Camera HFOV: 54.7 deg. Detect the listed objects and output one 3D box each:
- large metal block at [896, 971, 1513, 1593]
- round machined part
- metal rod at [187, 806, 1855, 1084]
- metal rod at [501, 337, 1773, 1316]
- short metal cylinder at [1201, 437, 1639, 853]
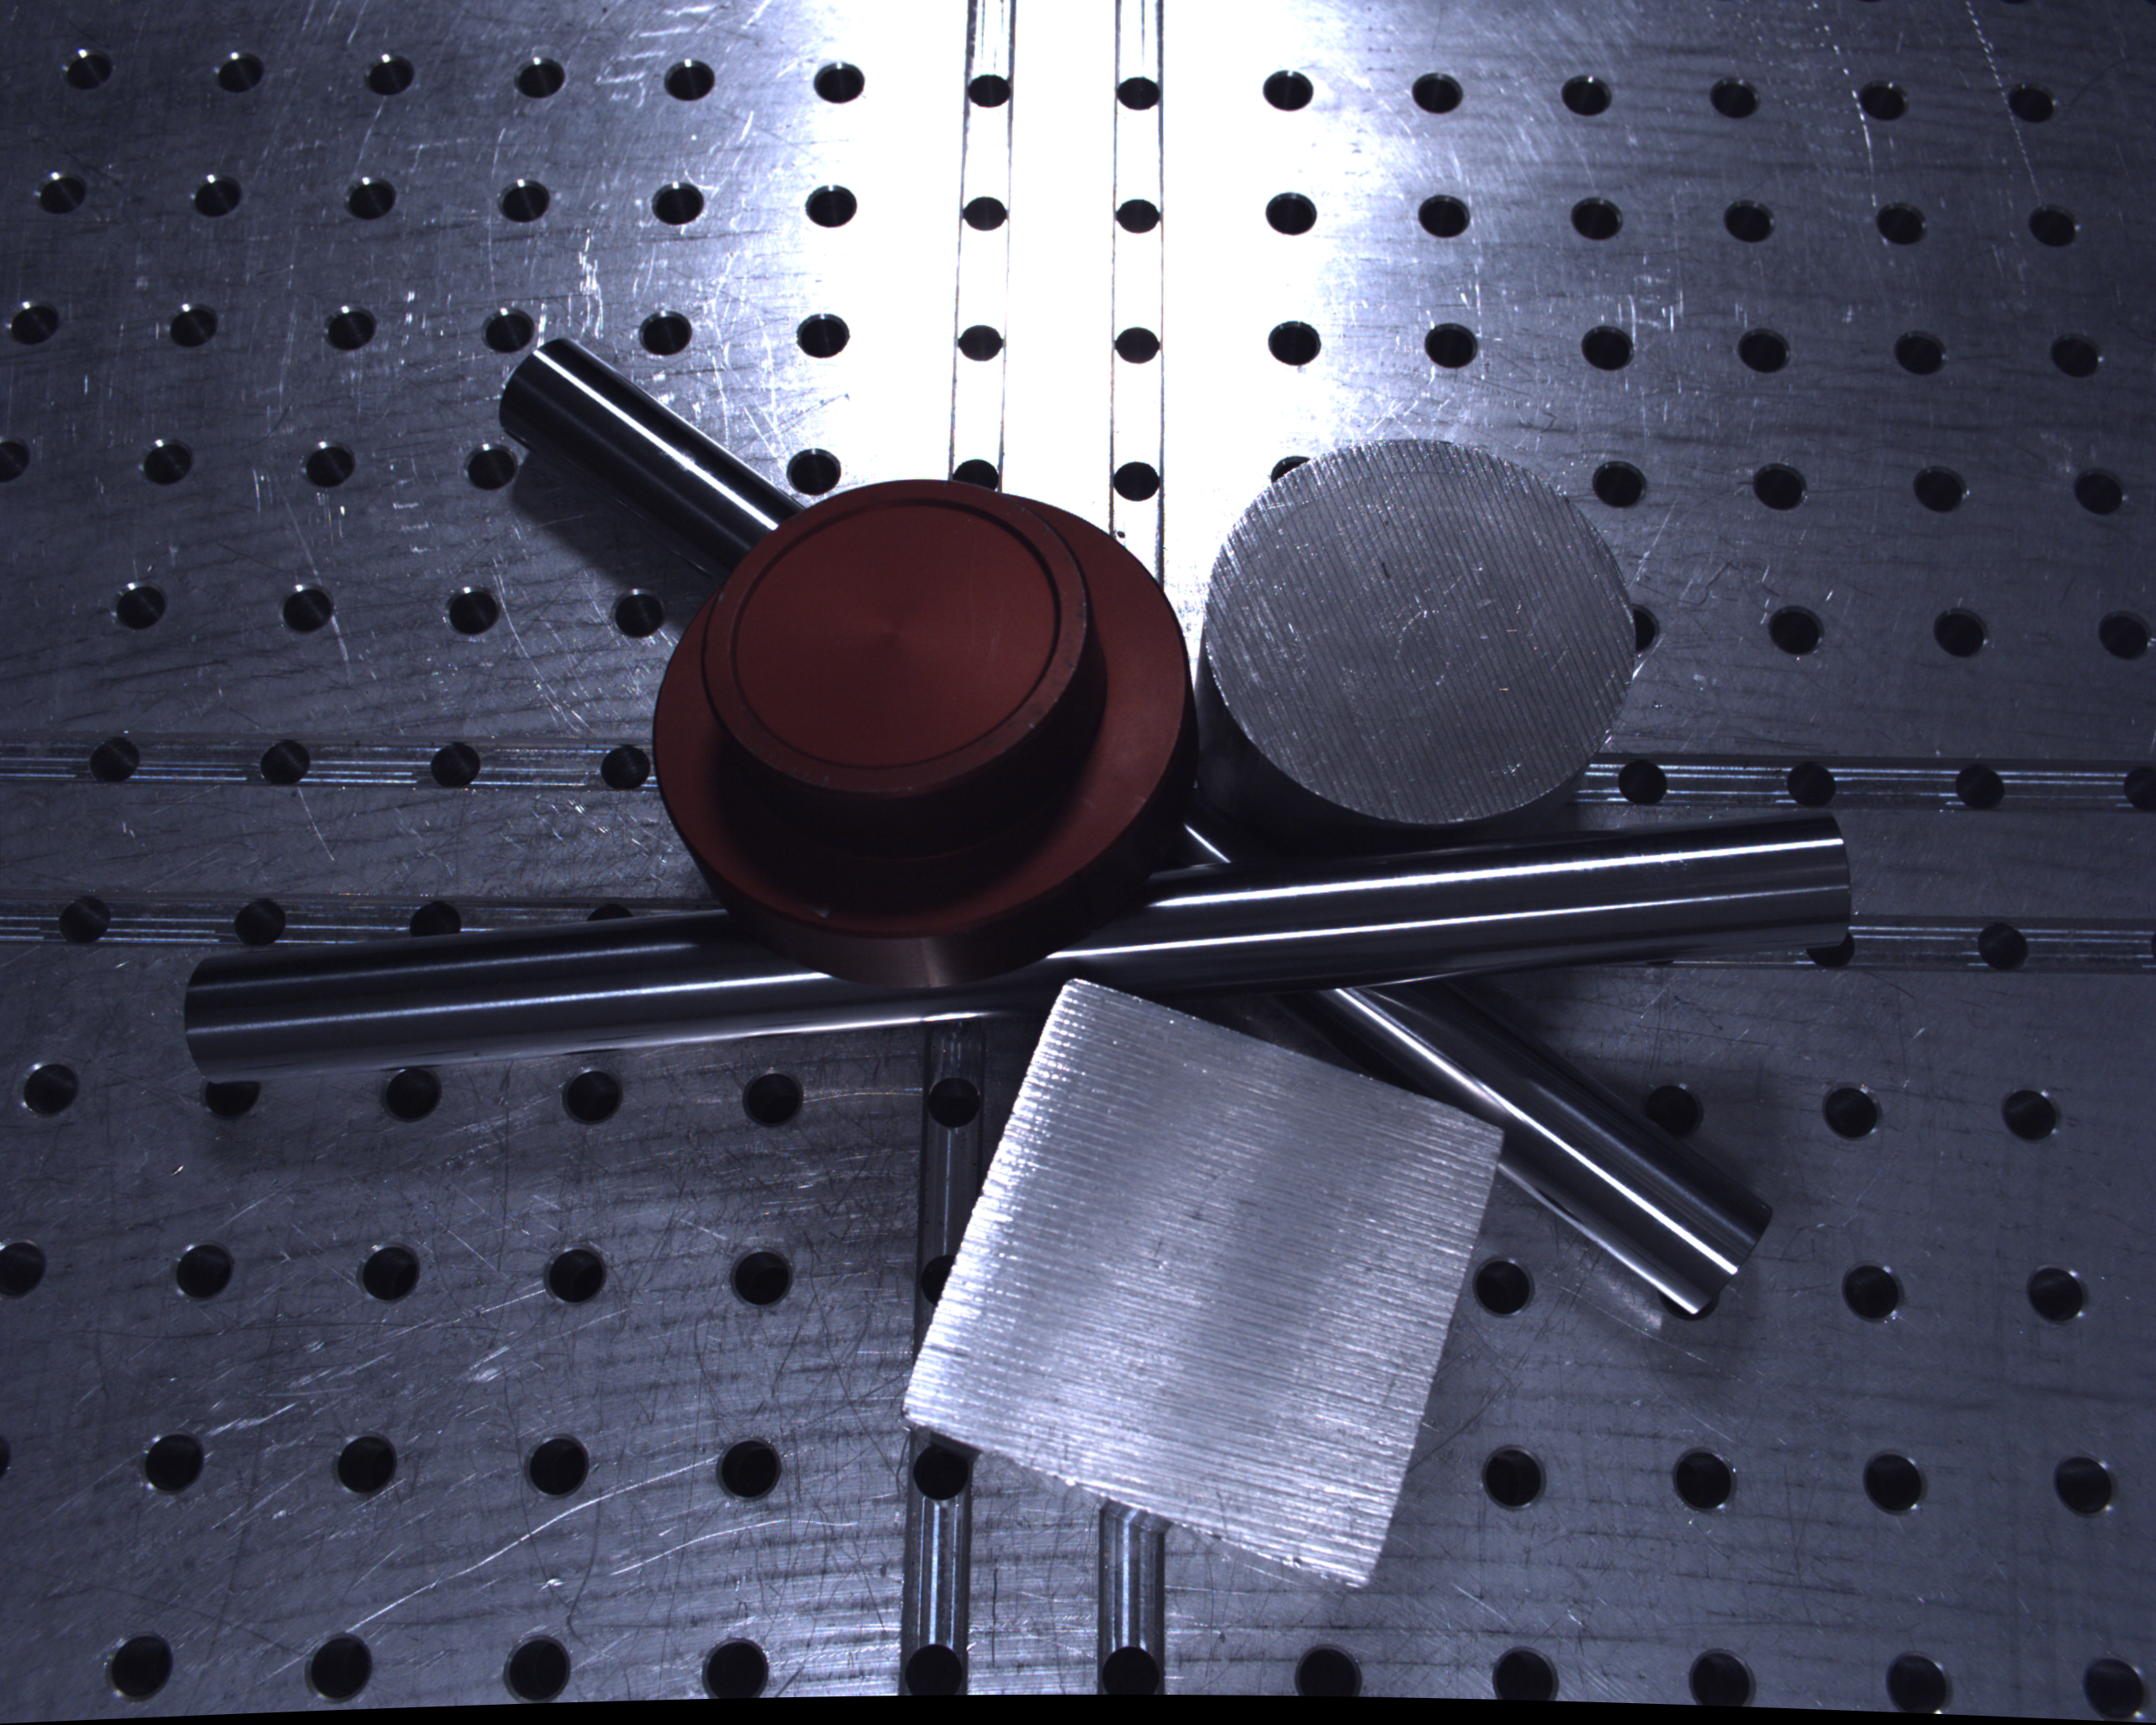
[{"bbox_3d":[0.022,0.075,0.369,0.080,0.050,0.080,19,71,6],"label":"large metal block"},{"bbox_3d":[-0.029,-0.029,0.377,0.099,0.042,0.098,-2,61,5],"label":"round machined part"},{"bbox_3d":[-0.014,0.016,0.386,0.302,0.025,0.025,-5,70,5],"label":"metal rod"},{"bbox_3d":[0.003,-0.014,0.417,0.300,0.025,0.025,37,74,12],"label":"metal rod"},{"bbox_3d":[0.064,-0.036,0.411,0.081,0.050,0.080,0,70,0],"label":"short metal cylinder"}]
